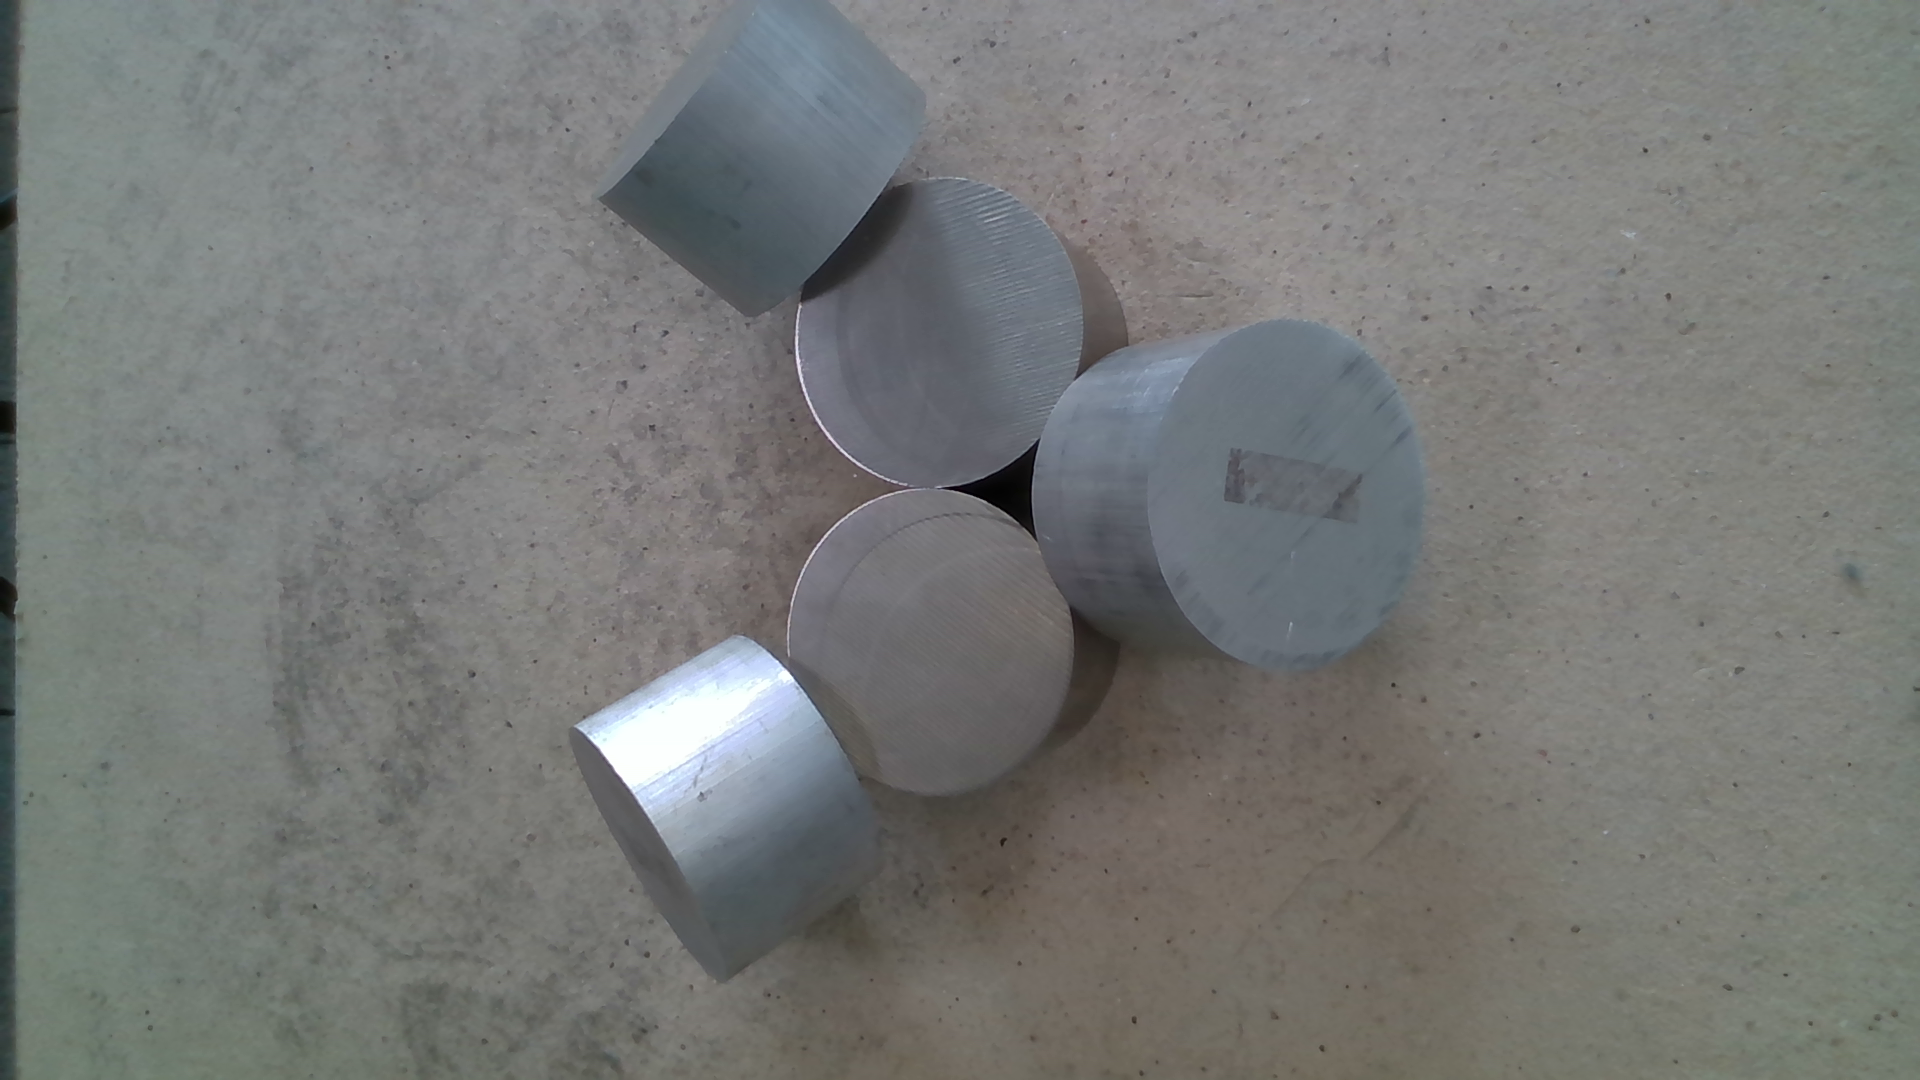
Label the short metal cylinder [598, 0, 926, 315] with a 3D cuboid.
[{"bbox_3d":[-0.055,-0.109,0.377,0.050,0.080,0.080,38,106,-25],"label":"short metal cylinder"}]

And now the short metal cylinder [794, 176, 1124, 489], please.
[{"bbox_3d":[0.002,-0.054,0.379,0.080,0.050,0.080,0,90,20],"label":"short metal cylinder"}]

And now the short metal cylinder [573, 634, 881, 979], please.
[{"bbox_3d":[-0.066,0.073,0.383,0.050,0.080,0.080,-30,77,-25],"label":"short metal cylinder"}]

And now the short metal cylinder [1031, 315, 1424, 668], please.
[{"bbox_3d":[0.064,-0.011,0.335,0.050,0.080,0.080,3,92,63],"label":"short metal cylinder"}]

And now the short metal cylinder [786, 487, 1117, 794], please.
[{"bbox_3d":[-0.001,0.026,0.381,0.080,0.050,0.080,0,90,20],"label":"short metal cylinder"}]
